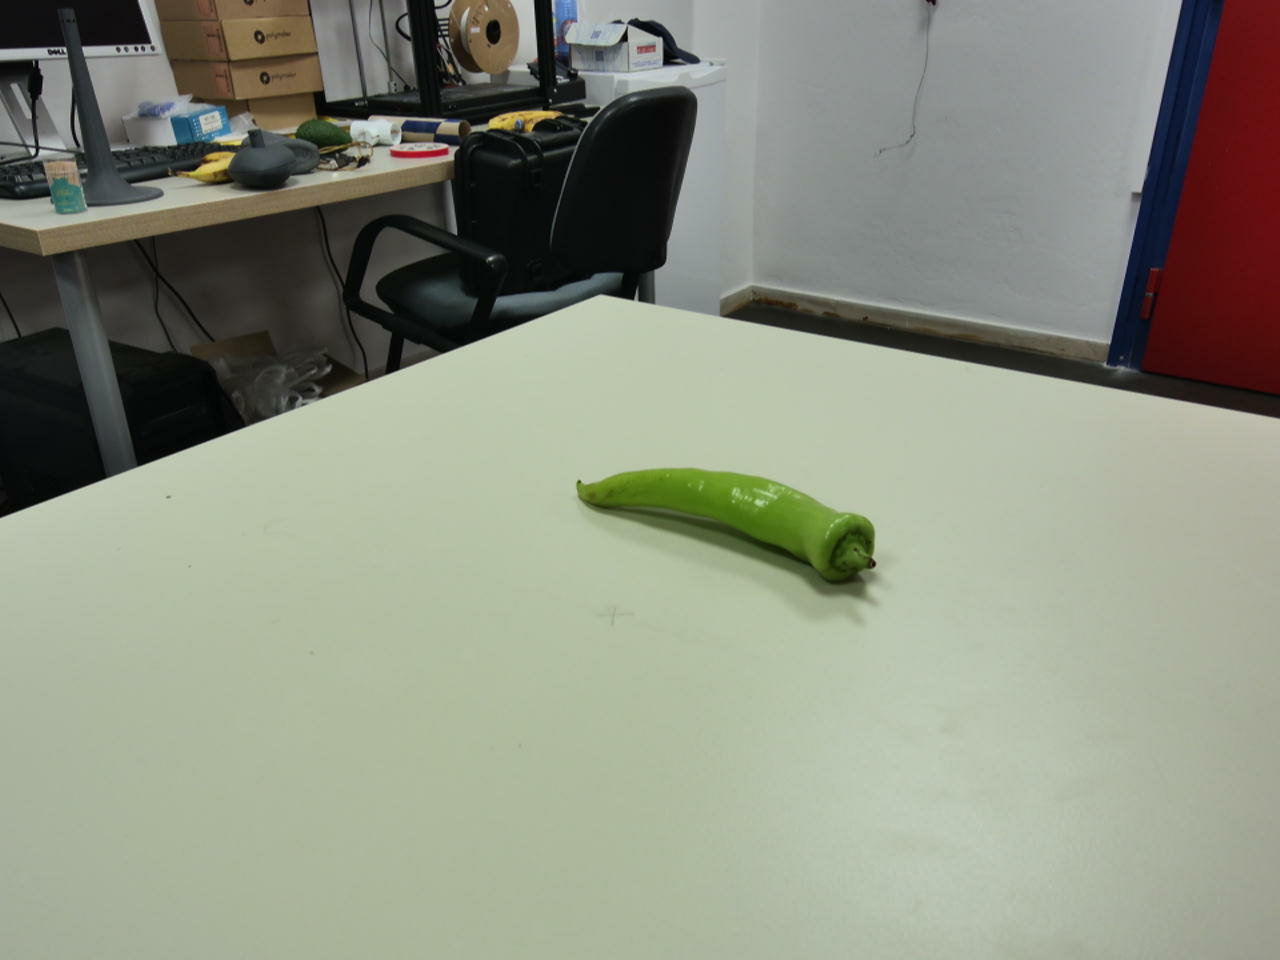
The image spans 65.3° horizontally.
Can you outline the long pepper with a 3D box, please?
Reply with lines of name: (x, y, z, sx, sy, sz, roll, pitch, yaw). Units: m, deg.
long pepper: (0.046, 0.013, 0.544, 0.197, 0.038, 0.046, 19, 30, 35)
